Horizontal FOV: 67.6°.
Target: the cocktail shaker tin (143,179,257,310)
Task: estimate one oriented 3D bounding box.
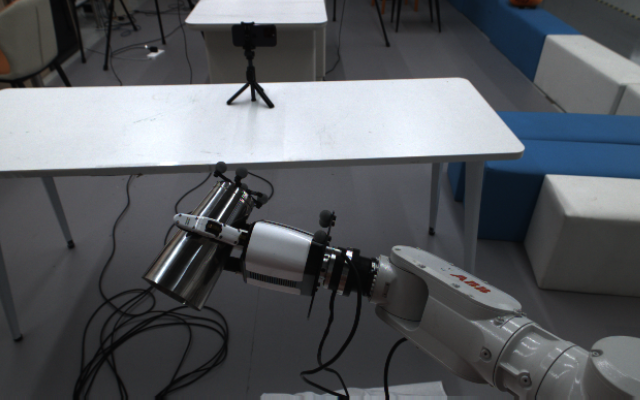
[{"bbox_3d":[-0.161,0.057,0.684,0.093,0.093,0.170,18,66,22],"label":"cocktail shaker tin"}]
